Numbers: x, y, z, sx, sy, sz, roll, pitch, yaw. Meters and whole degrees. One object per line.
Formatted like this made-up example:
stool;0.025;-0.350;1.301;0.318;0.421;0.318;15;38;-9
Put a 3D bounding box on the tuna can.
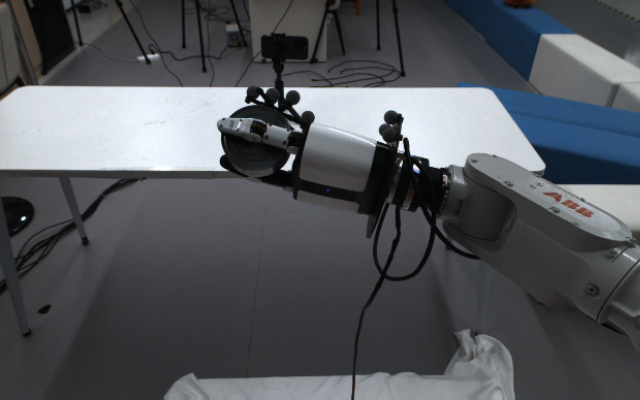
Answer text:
tuna can;-0.077;-0.074;0.605;0.085;0.034;0.085;0;72;0
